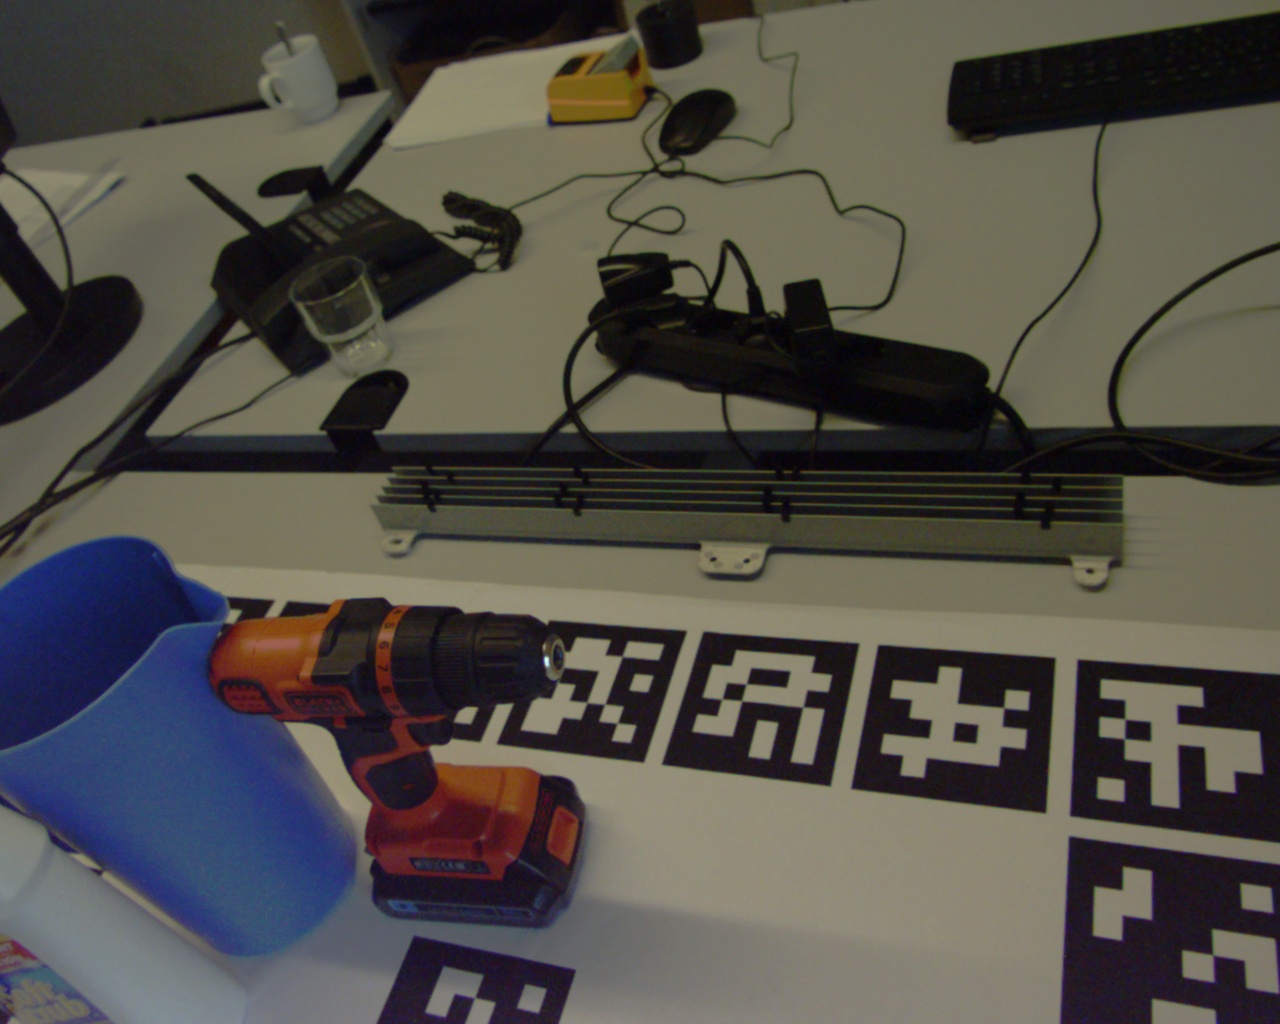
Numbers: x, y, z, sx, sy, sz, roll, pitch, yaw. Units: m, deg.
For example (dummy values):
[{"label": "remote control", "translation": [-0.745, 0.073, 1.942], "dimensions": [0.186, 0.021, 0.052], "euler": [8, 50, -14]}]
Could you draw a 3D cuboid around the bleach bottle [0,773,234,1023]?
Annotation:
[{"label": "bleach bottle", "translation": [-0.311, 0.190, 0.573], "dimensions": [0.103, 0.248, 0.068], "euler": [-5, 45, 18]}]

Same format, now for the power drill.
[{"label": "power drill", "translation": [-0.105, 0.125, 0.597], "dimensions": [0.186, 0.185, 0.057], "euler": [1, 50, 15]}]

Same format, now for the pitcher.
[{"label": "pitcher", "translation": [-0.268, 0.129, 0.646], "dimensions": [0.189, 0.240, 0.134], "euler": [-19, 44, 4]}]
